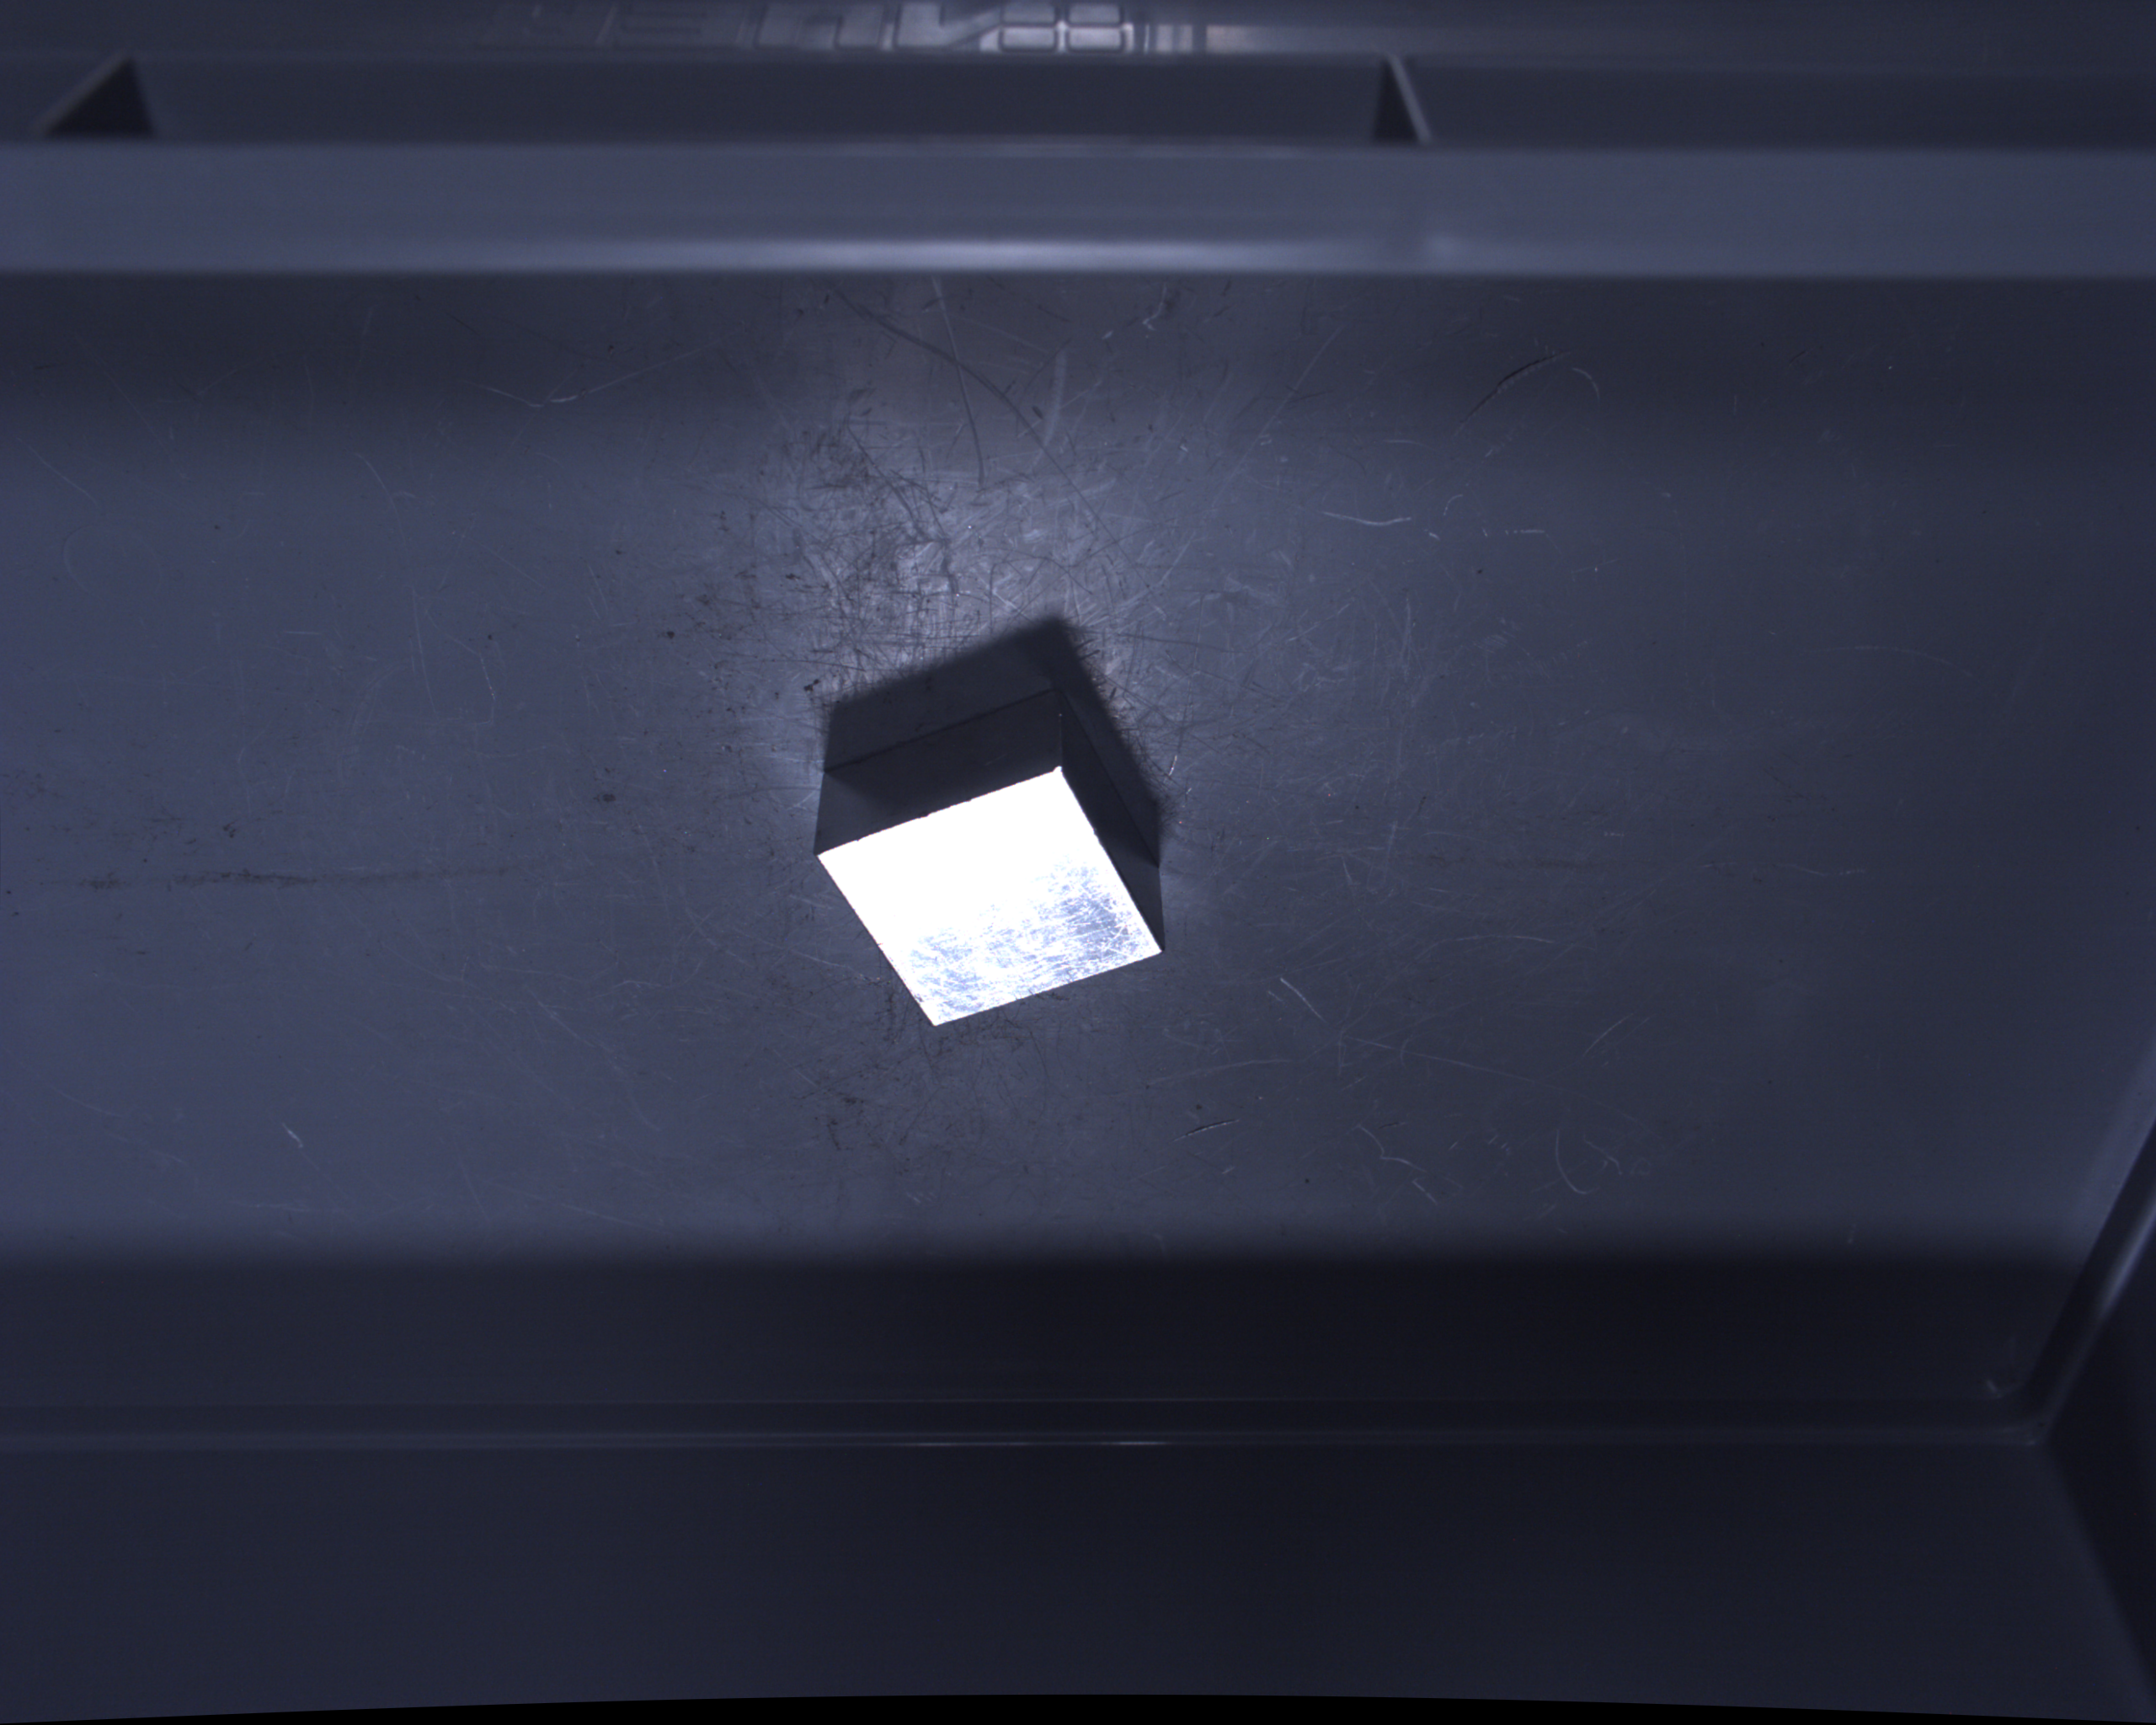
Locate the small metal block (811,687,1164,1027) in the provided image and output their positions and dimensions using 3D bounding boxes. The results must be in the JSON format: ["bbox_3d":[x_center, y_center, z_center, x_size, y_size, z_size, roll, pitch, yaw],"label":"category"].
[{"bbox_3d":[-0.016,0.000,0.404,0.050,0.025,0.050,-18,128,14],"label":"small metal block"}]
